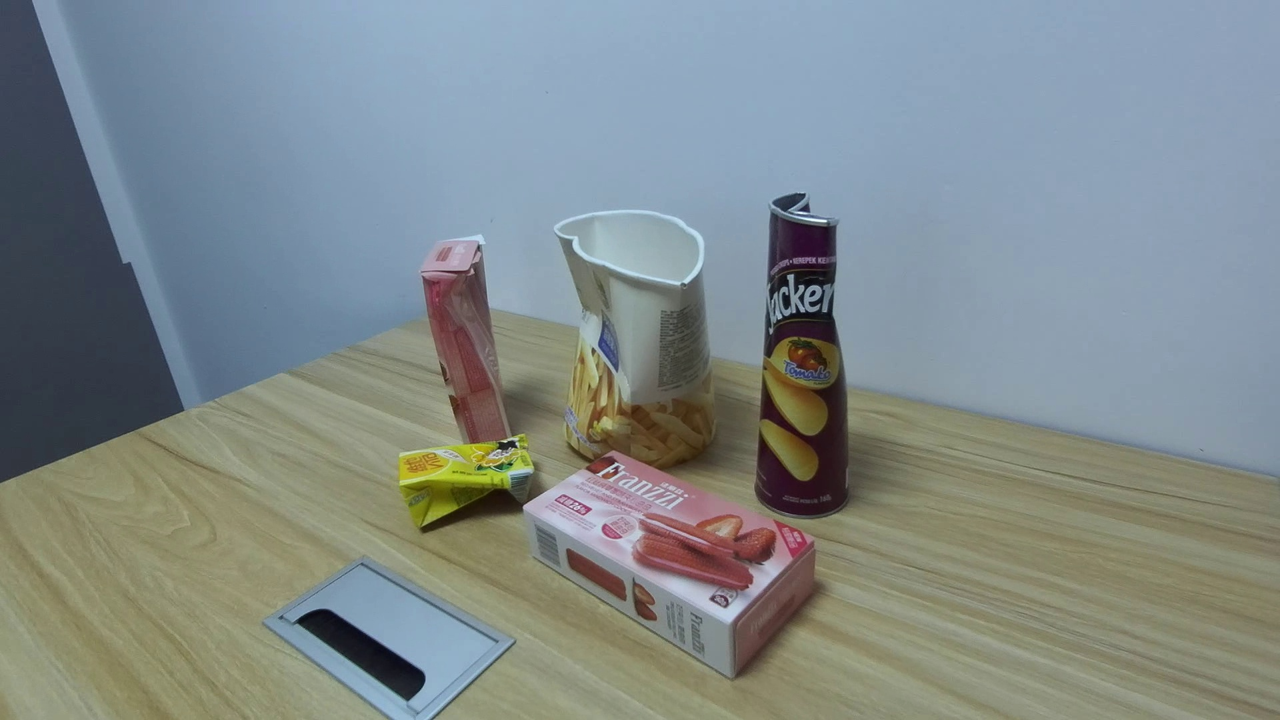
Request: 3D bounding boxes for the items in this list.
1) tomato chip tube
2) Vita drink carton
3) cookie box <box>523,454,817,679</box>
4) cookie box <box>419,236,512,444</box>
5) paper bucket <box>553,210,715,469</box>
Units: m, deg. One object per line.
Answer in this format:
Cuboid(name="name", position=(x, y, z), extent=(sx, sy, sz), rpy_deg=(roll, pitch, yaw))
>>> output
Cuboid(name="tomato chip tube", position=(0.126, 0.001, 0.530), extent=(0.078, 0.235, 0.076), rpy_deg=(-24, 31, -39))
Cuboid(name="Vita drink carton", position=(-0.143, 0.099, 0.594), extent=(0.108, 0.042, 0.086), rpy_deg=(-8, 18, -16))
Cuboid(name="cookie box", position=(0.016, 0.130, 0.490), extent=(0.183, 0.048, 0.096), rpy_deg=(18, 32, 39))
Cuboid(name="cookie box", position=(-0.160, -0.013, 0.671), extent=(0.055, 0.184, 0.118), rpy_deg=(-7, 24, -7))
Cuboid(name="paper bucket", position=(-0.004, -0.020, 0.640), extent=(0.217, 0.199, 0.148), rpy_deg=(16, 30, 39))
